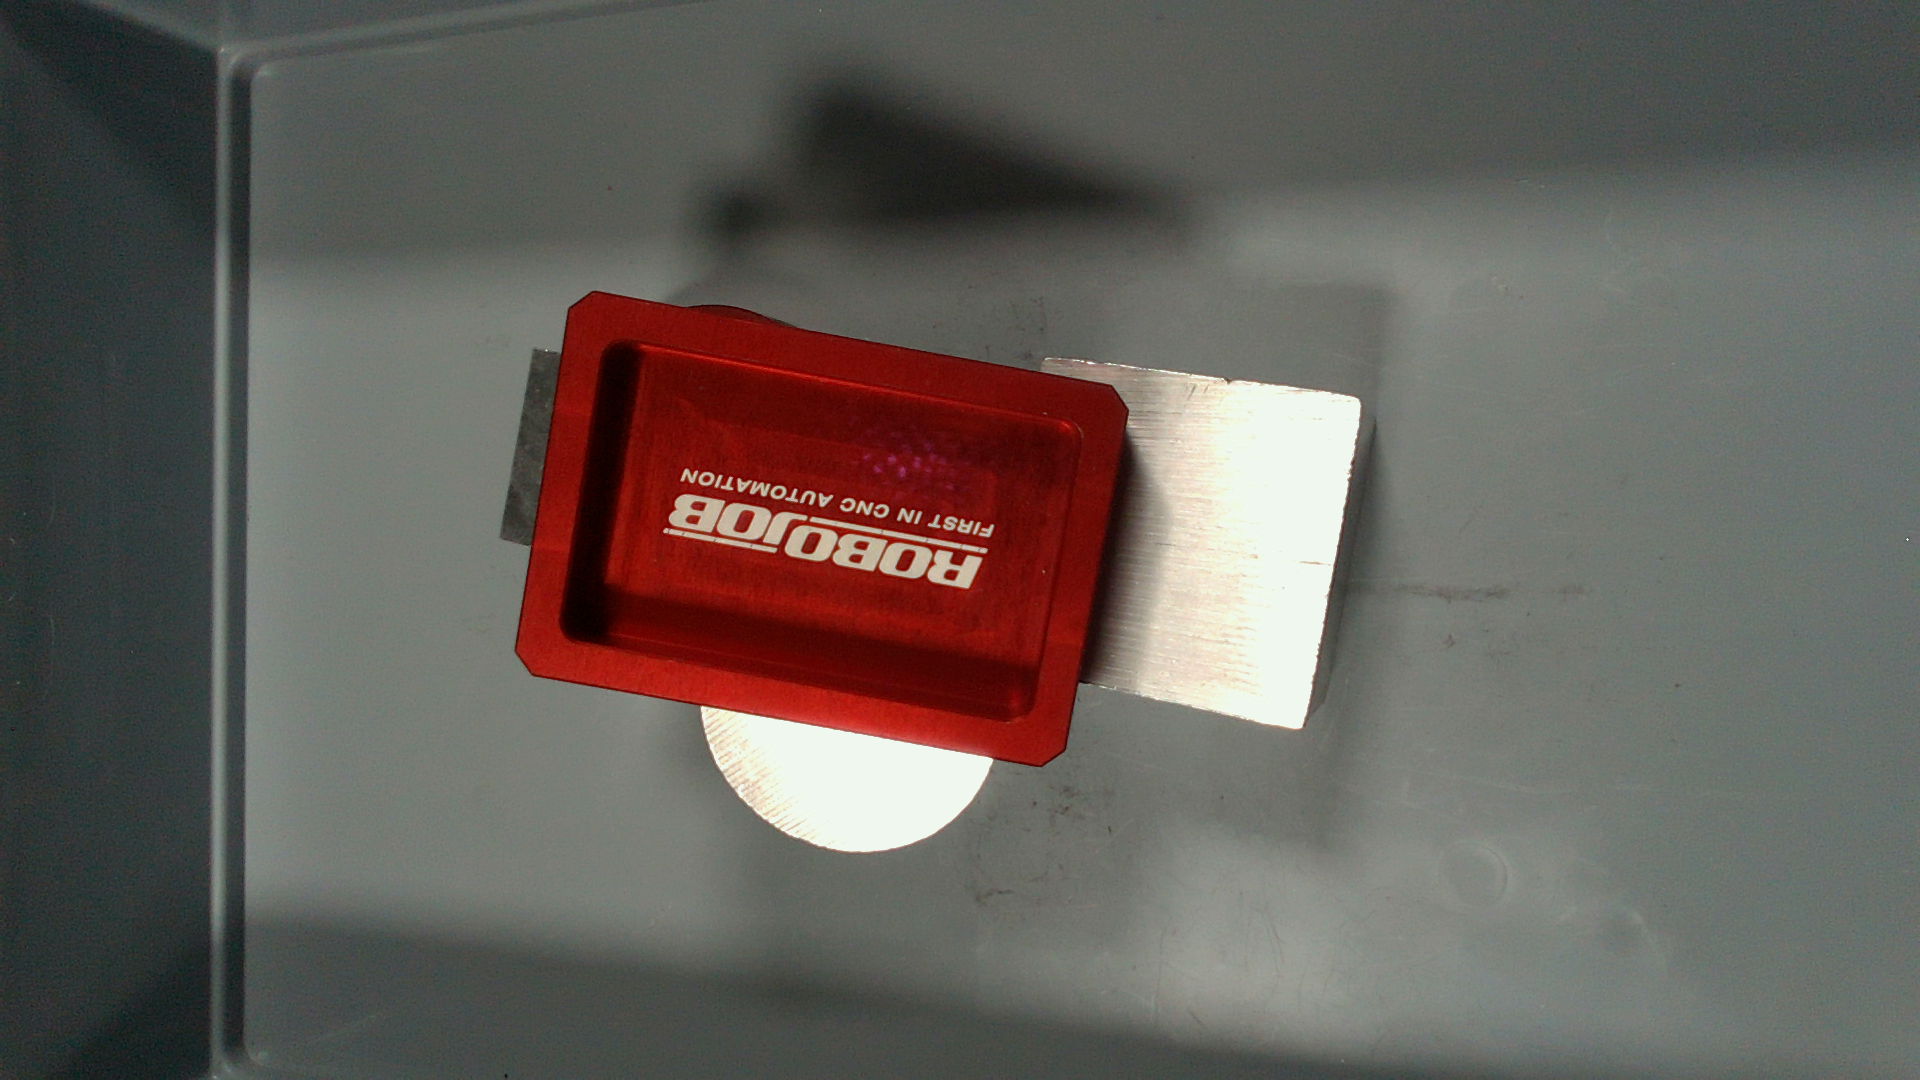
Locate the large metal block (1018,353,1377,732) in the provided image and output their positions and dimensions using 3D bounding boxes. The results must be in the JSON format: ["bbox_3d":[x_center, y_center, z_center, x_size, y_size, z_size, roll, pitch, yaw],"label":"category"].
[{"bbox_3d":[0.059,-0.001,0.359,0.080,0.050,0.080,10,94,20],"label":"large metal block"}]

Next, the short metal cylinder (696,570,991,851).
[{"bbox_3d":[-0.026,0.038,0.378,0.080,0.050,0.080,2,103,8],"label":"short metal cylinder"}]

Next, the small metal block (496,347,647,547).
[{"bbox_3d":[-0.094,-0.022,0.370,0.025,0.050,0.050,13,95,20],"label":"small metal block"}]

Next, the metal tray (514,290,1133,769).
[{"bbox_3d":[-0.032,-0.003,0.328,0.130,0.030,0.090,10,94,0],"label":"metal tray"}]

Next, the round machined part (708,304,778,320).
[{"bbox_3d":[-0.078,-0.022,0.414,0.098,0.042,0.098,0,90,20],"label":"round machined part"}]
